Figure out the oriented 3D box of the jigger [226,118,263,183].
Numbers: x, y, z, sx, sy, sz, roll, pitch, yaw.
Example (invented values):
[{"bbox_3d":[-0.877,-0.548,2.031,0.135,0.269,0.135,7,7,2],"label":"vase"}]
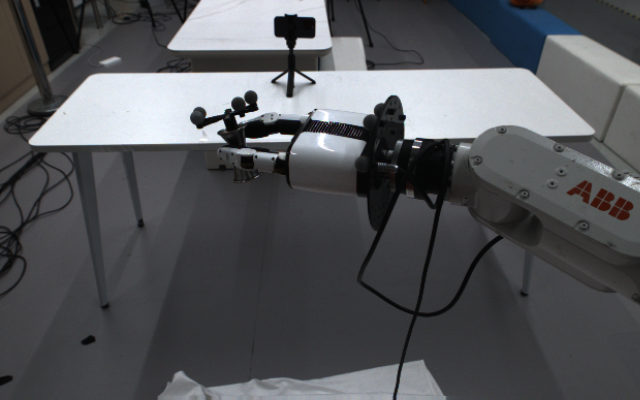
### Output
[{"bbox_3d":[-0.102,-0.061,0.633,0.043,0.071,0.043,-14,21,6],"label":"jigger"}]
